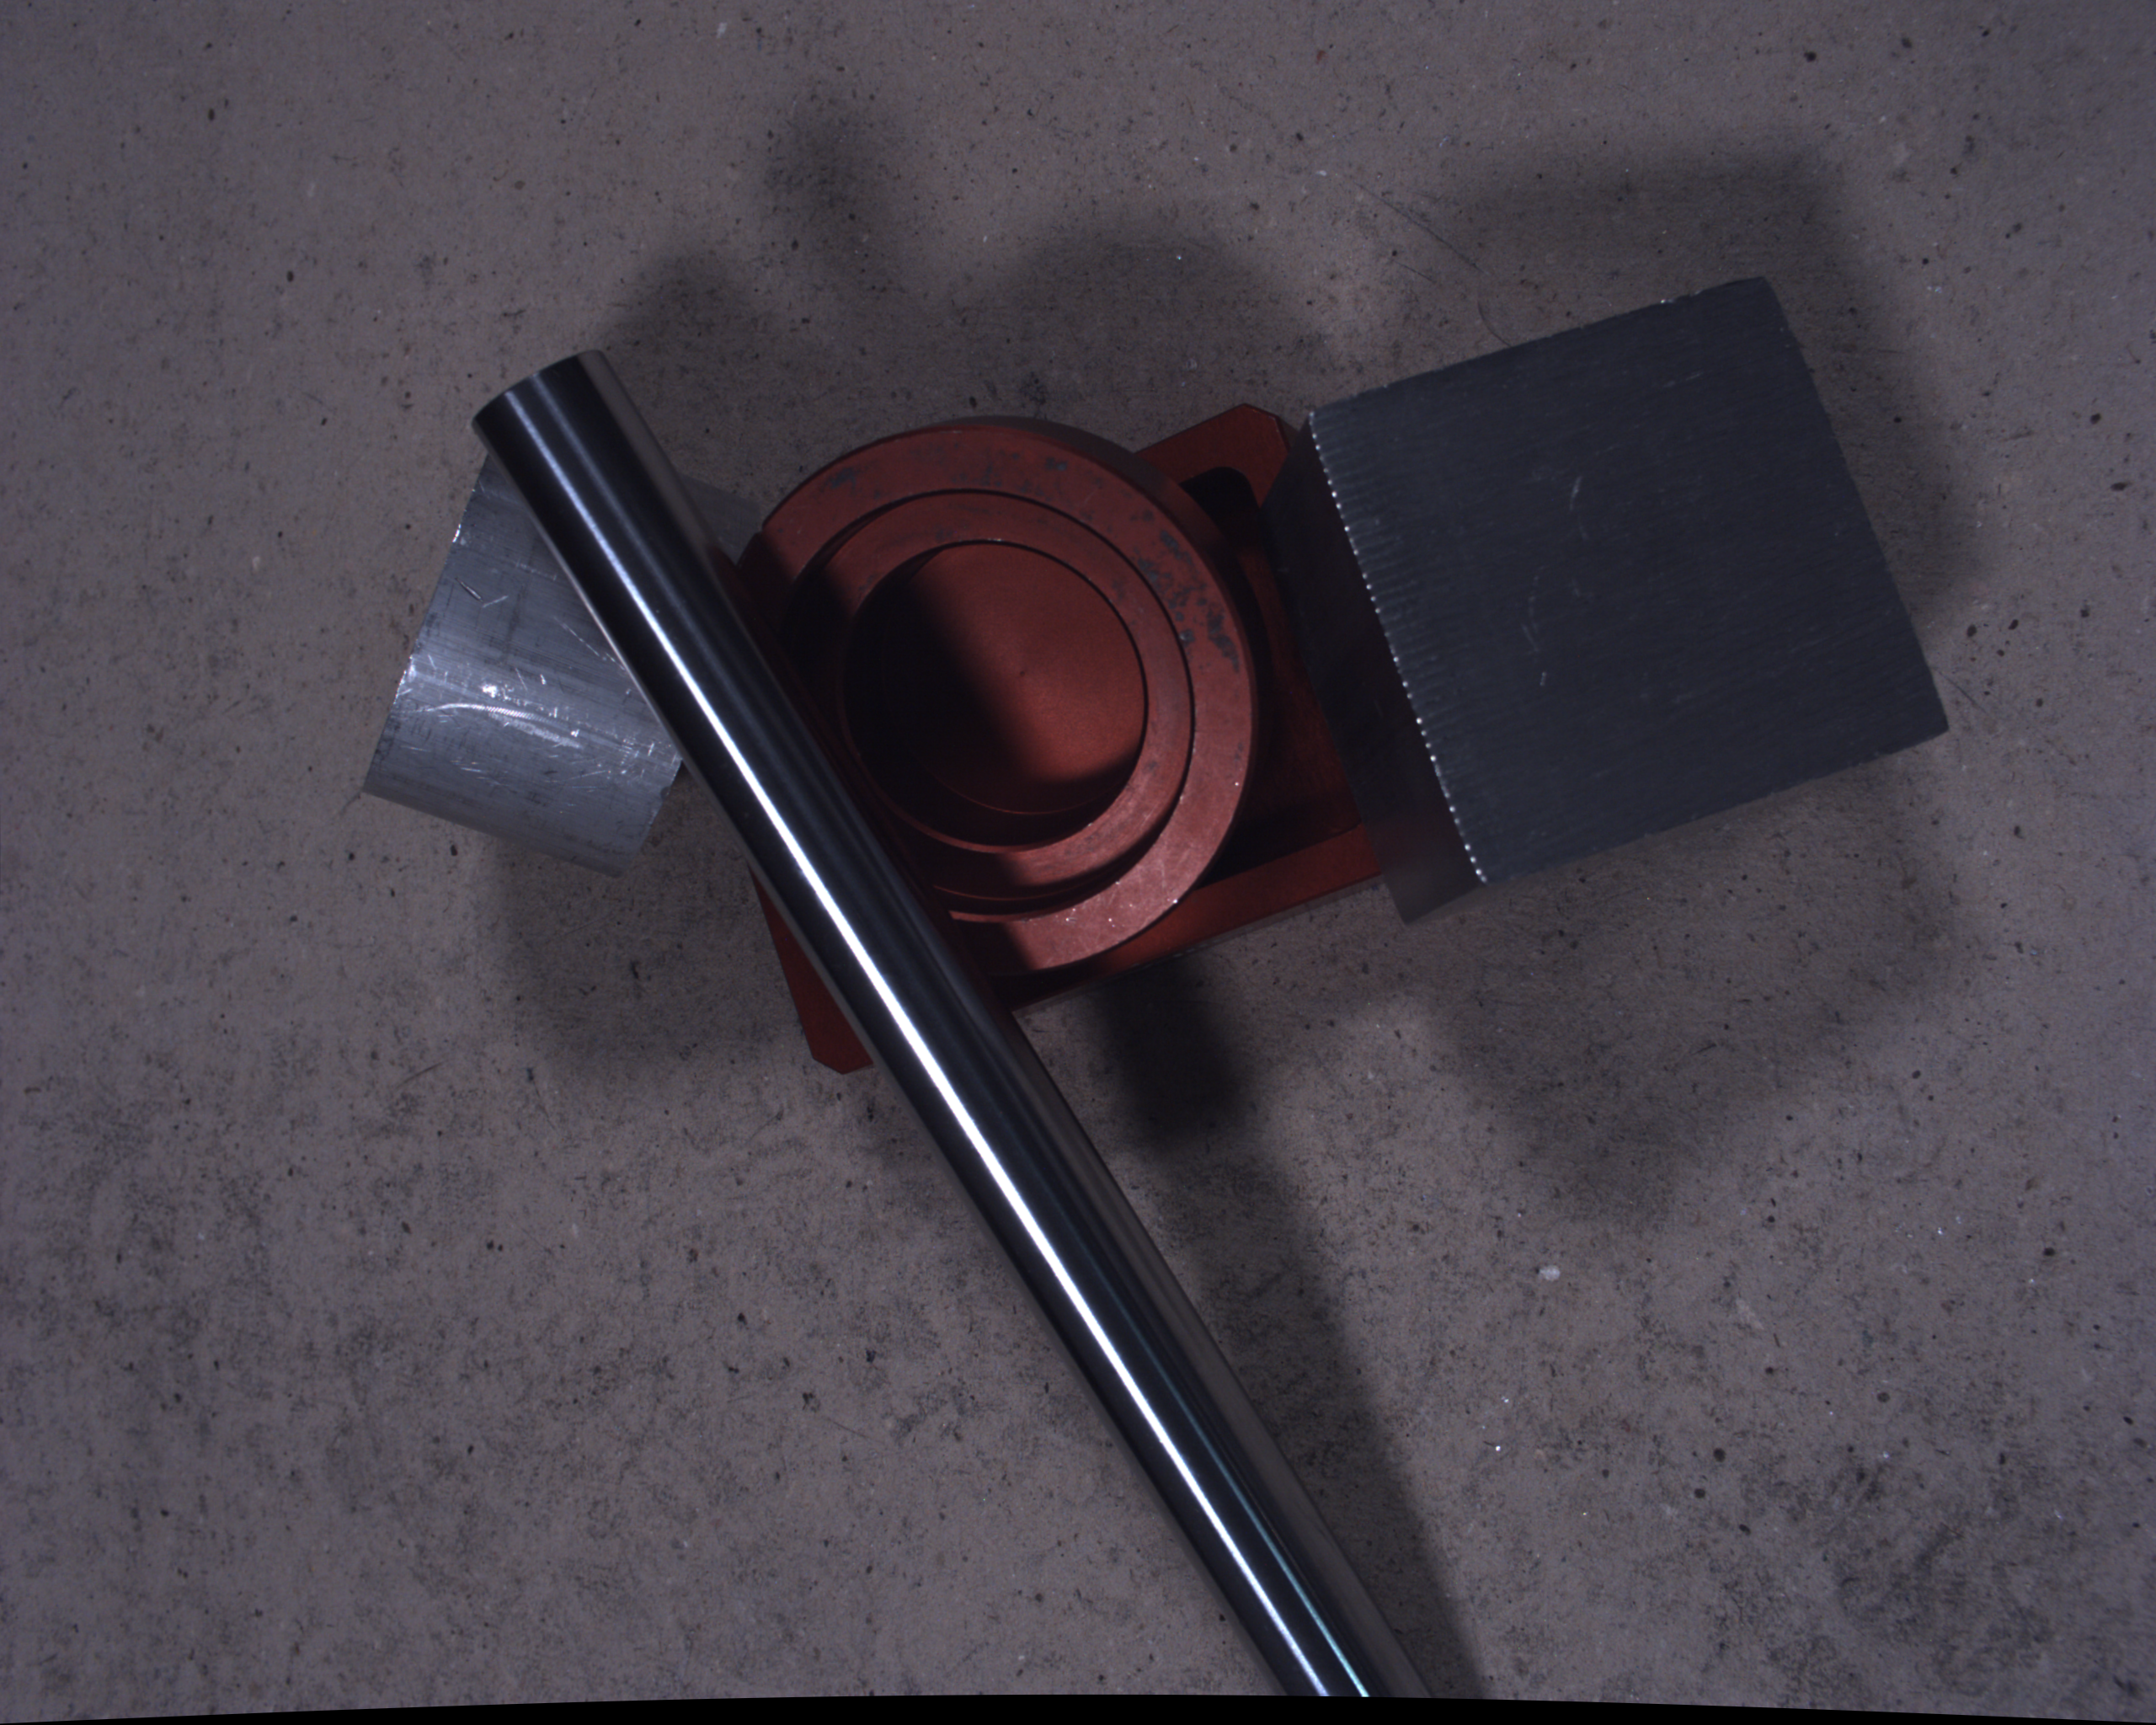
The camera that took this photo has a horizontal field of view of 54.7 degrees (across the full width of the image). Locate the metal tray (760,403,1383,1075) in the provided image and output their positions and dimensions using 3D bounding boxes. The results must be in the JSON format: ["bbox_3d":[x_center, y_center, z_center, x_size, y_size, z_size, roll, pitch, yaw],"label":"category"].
[{"bbox_3d":[-0.003,-0.021,0.408,0.130,0.030,0.090,-22,83,18],"label":"metal tray"}]

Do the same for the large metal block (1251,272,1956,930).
[{"bbox_3d":[0.084,-0.041,0.349,0.081,0.050,0.080,-18,83,-8],"label":"large metal block"}]

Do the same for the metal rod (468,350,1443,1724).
[{"bbox_3d":[-0.014,0.048,0.368,0.025,0.025,0.299,-29,98,17],"label":"metal rod"}]

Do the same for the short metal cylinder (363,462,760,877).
[{"bbox_3d":[-0.101,-0.042,0.408,0.050,0.080,0.080,20,98,-18],"label":"short metal cylinder"}]

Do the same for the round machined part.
[{"bbox_3d":[-0.013,-0.032,0.379,0.098,0.042,0.097,4,106,14],"label":"round machined part"}]
